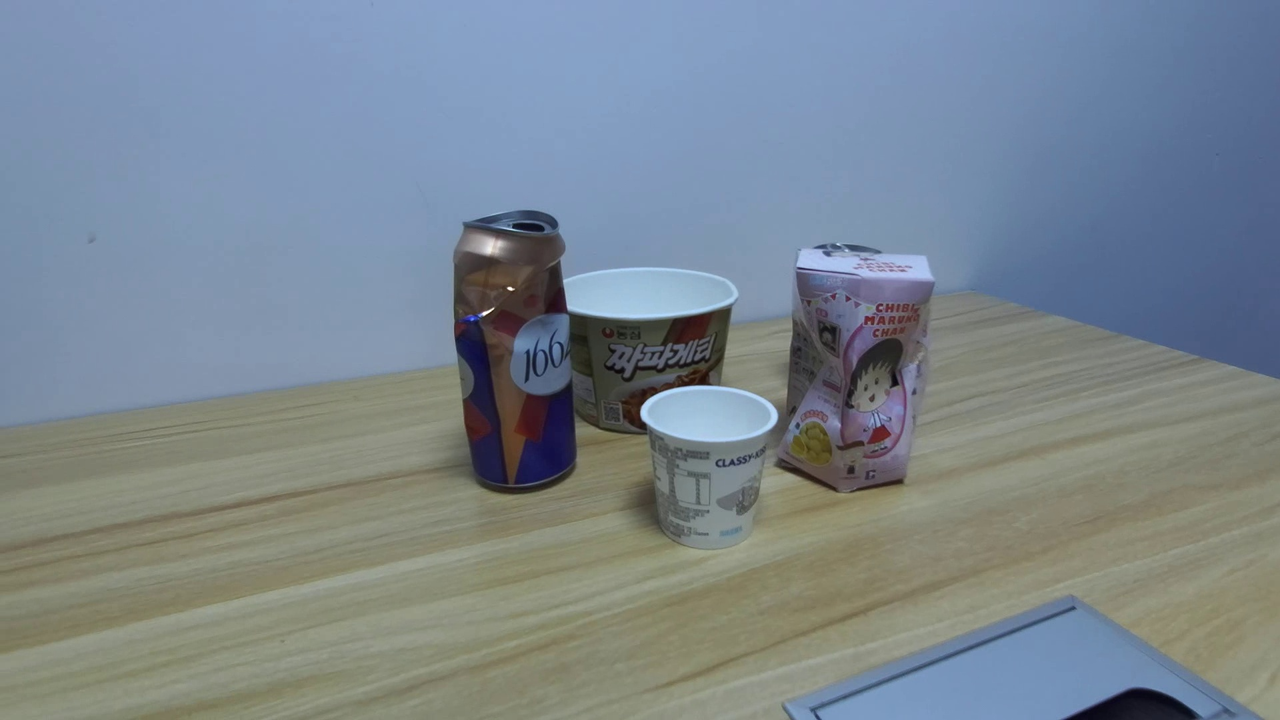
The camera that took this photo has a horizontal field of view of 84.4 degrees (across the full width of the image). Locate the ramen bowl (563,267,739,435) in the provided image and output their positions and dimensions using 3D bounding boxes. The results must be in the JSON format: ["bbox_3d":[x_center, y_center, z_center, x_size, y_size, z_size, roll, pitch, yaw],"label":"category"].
[{"bbox_3d":[0.005,-0.009,0.534,0.140,0.095,0.140,0,19,0],"label":"ramen bowl"}]

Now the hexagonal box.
[{"bbox_3d":[0.128,0.004,0.437,0.093,0.134,0.089,17,26,37],"label":"hexagonal box"}]

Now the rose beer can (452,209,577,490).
[{"bbox_3d":[-0.075,-0.004,0.429,0.068,0.162,0.073,-4,21,-11],"label":"rose beer can"}]

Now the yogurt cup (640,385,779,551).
[{"bbox_3d":[0.037,0.059,0.383,0.072,0.068,0.072,0,21,0],"label":"yogurt cup"}]
